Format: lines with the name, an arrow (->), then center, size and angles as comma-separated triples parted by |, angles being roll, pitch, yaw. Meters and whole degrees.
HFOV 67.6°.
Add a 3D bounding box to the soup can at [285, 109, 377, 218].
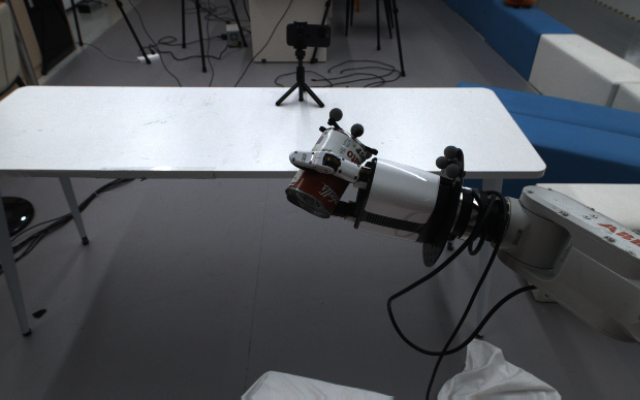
soup can -> 0.010, -0.036, 0.635 | 0.067, 0.067, 0.101 | 22, 71, 26
